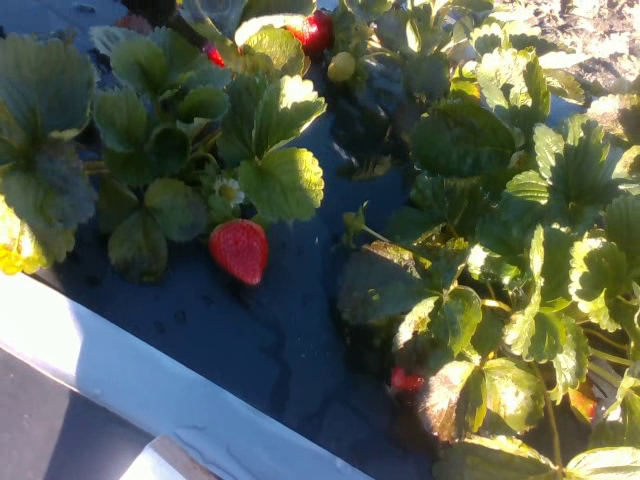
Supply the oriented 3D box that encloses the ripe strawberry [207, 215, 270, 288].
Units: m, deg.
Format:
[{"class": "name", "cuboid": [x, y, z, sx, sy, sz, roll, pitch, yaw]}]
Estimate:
[{"class": "ripe strawberry", "cuboid": [-0.053, 0.009, 0.415, 0.045, 0.059, 0.042, -25, -22, 11]}]
